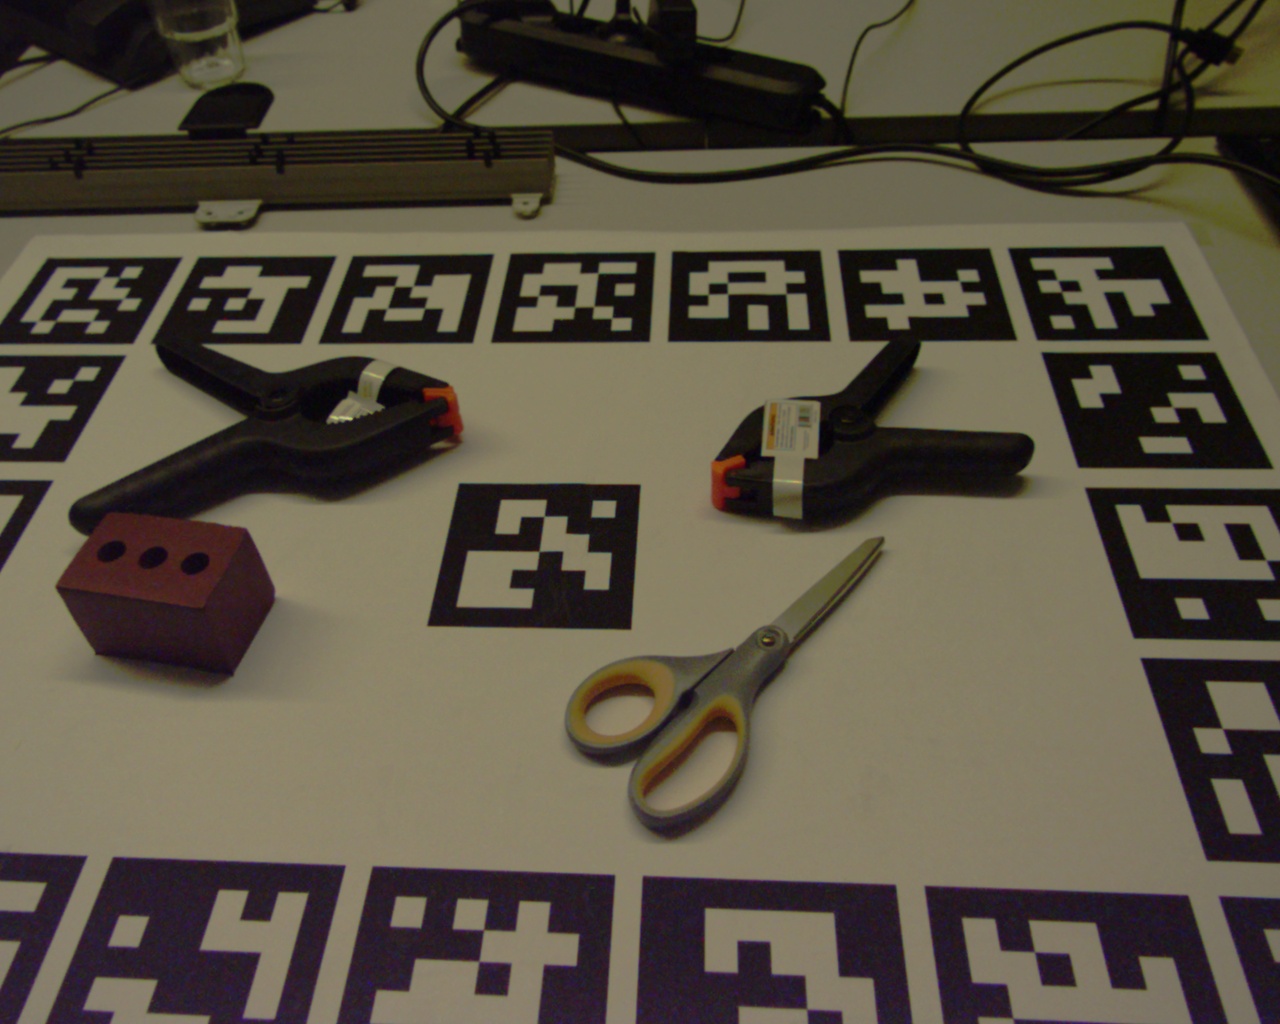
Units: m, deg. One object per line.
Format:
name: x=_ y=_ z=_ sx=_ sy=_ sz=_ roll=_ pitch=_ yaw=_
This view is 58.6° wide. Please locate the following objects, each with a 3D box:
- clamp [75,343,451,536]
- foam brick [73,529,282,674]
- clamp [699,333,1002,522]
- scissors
clamp: x=-0.217 y=-0.051 z=0.690 sx=0.203 sy=0.036 sz=0.166 roll=-2 pitch=45 yaw=1
foam brick: x=-0.240 y=0.046 z=0.596 sx=0.078 sy=0.051 sz=0.053 roll=3 pitch=49 yaw=13
clamp: x=0.109 y=-0.039 z=0.661 sx=0.164 sy=0.036 sz=0.123 roll=-21 pitch=57 yaw=-14
scissors: x=0.040 y=0.070 z=0.570 sx=0.088 sy=0.016 sz=0.201 roll=37 pitch=58 yaw=22
